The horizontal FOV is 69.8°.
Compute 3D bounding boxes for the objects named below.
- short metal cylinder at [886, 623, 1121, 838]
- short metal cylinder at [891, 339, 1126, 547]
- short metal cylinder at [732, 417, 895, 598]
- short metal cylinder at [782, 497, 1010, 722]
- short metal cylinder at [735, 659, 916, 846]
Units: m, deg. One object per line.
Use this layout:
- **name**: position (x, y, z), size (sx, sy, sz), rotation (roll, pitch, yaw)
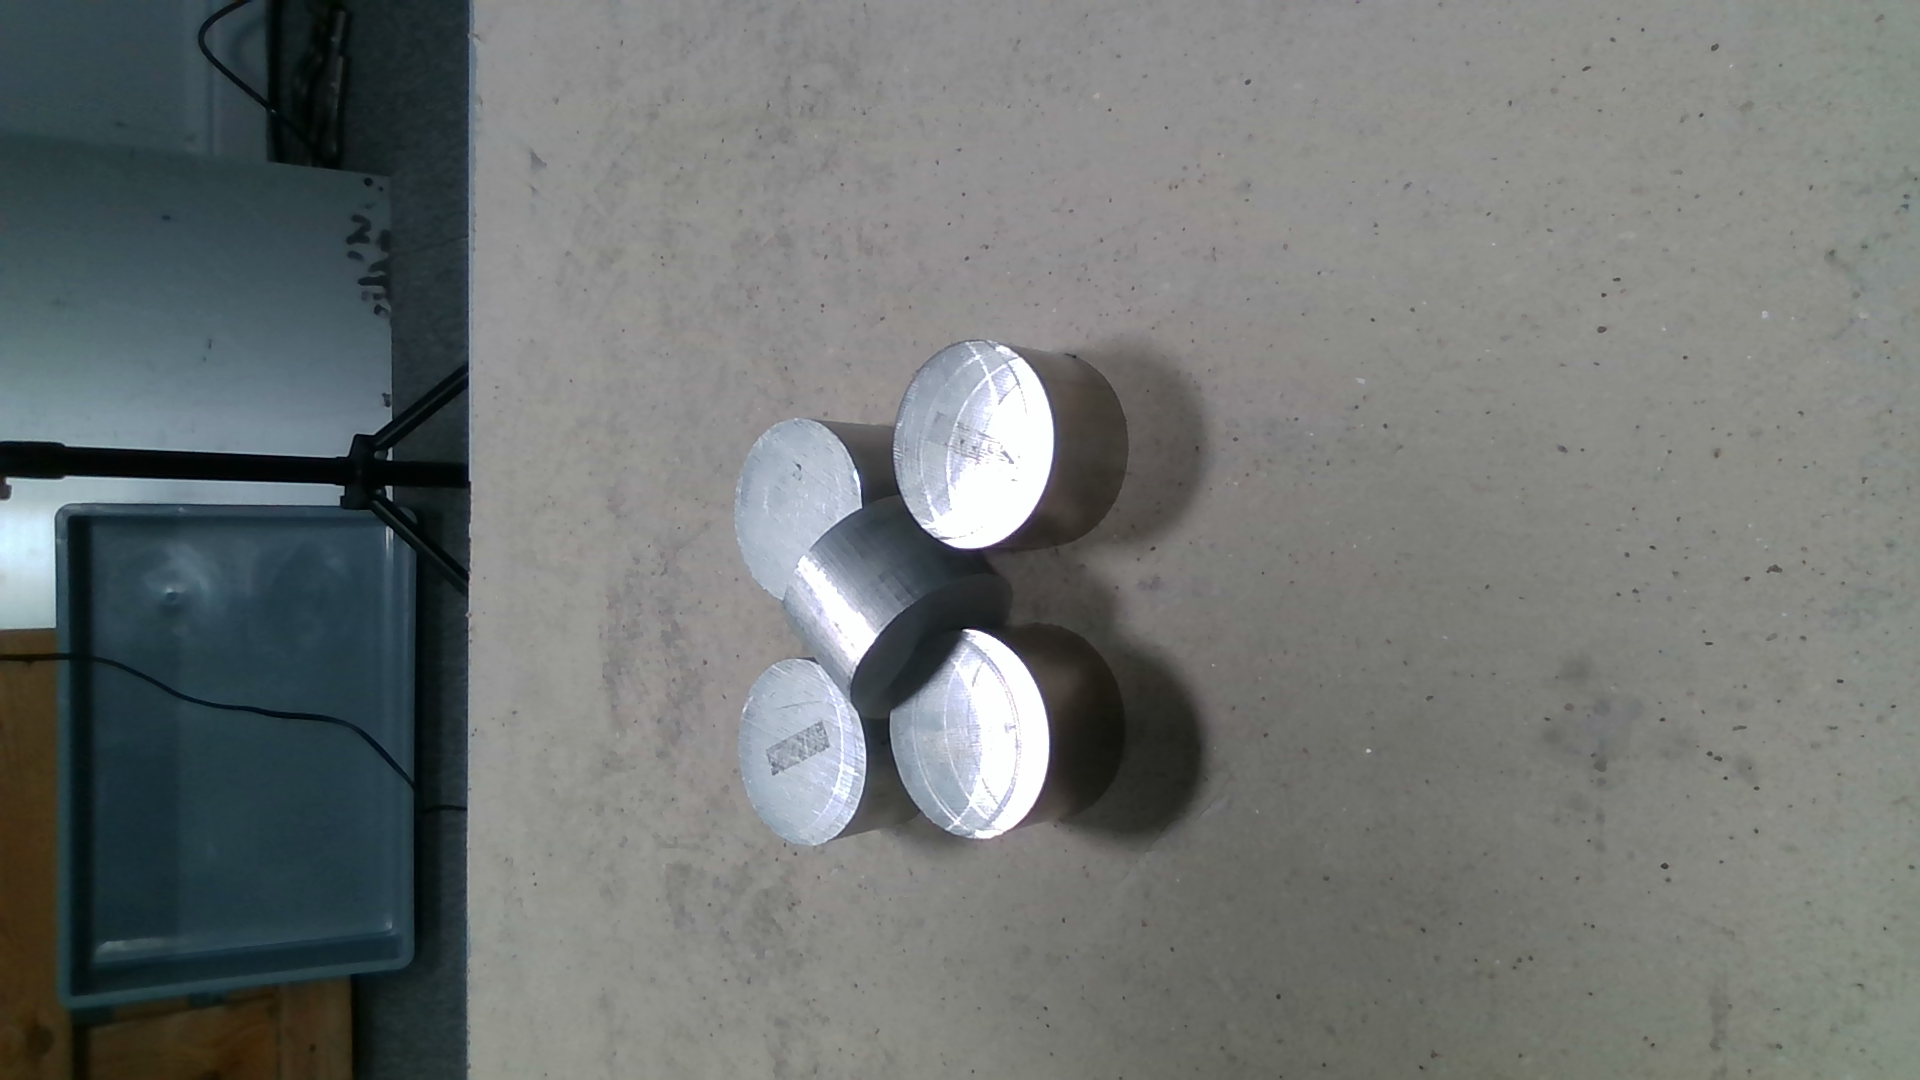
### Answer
- **short metal cylinder**: position (0.017, 0.075, 0.550), size (0.080, 0.050, 0.080), rotation (0, 91, 40)
- **short metal cylinder**: position (0.019, -0.037, 0.548), size (0.080, 0.050, 0.080), rotation (0, 91, 40)
- **short metal cylinder**: position (-0.056, -0.013, 0.611), size (0.080, 0.050, 0.080), rotation (0, 91, 40)
- **short metal cylinder**: position (-0.026, 0.029, 0.569), size (0.050, 0.080, 0.080), rotation (47, 119, 30)
- **short metal cylinder**: position (-0.054, 0.091, 0.611), size (0.080, 0.050, 0.080), rotation (0, 91, 40)
